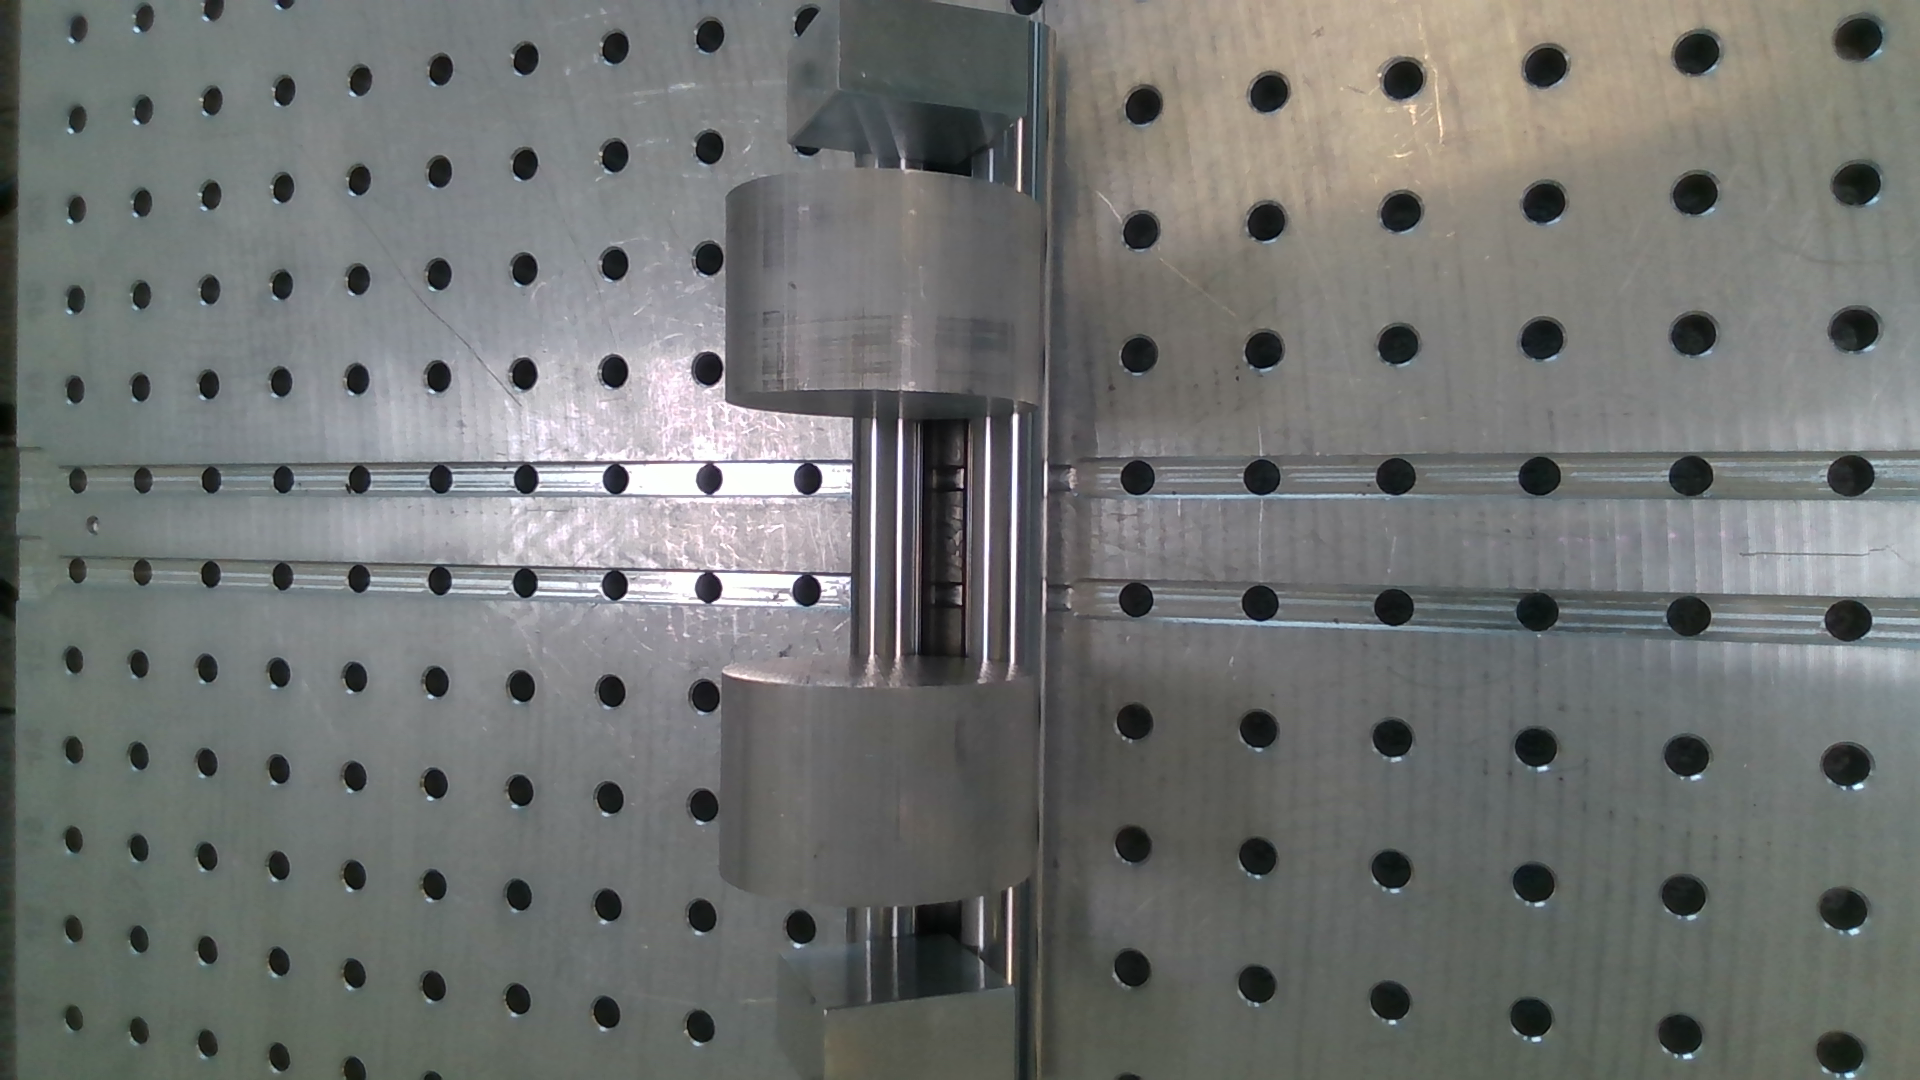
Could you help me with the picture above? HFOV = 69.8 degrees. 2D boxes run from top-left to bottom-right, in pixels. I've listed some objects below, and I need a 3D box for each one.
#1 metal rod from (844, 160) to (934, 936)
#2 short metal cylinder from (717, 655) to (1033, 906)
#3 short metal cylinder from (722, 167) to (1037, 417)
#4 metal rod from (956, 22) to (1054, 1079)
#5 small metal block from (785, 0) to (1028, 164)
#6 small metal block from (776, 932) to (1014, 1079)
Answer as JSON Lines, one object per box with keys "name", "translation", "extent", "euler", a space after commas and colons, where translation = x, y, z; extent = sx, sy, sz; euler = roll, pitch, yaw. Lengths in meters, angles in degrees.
{"name": "metal rod", "translation": [-0.020, 0.004, 0.404], "extent": [0.025, 0.025, 0.300], "euler": [1, 91, 20]}
{"name": "short metal cylinder", "translation": [-0.022, 0.058, 0.352], "extent": [0.080, 0.080, 0.050], "euler": [1, 90, 20]}
{"name": "short metal cylinder", "translation": [-0.020, -0.059, 0.351], "extent": [0.080, 0.080, 0.050], "euler": [1, 90, 20]}
{"name": "metal rod", "translation": [0.013, 0.007, 0.392], "extent": [0.025, 0.025, 0.300], "euler": [1, 91, 20]}
{"name": "small metal block", "translation": [-0.015, -0.121, 0.364], "extent": [0.050, 0.050, 0.025], "euler": [1, 90, -22]}
{"name": "small metal block", "translation": [-0.019, 0.126, 0.367], "extent": [0.050, 0.050, 0.025], "euler": [1, 90, -21]}
